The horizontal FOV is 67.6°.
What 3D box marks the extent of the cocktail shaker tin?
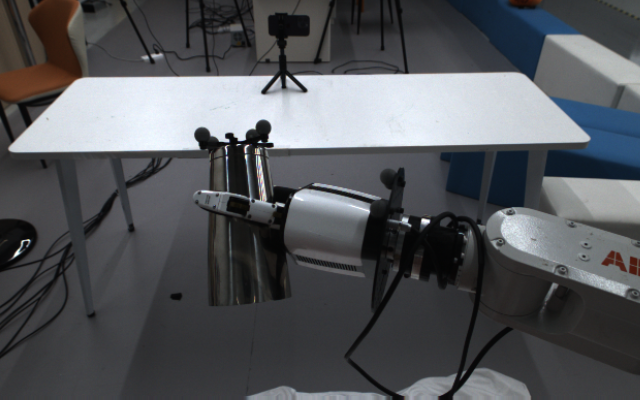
[{"bbox_3d":[-0.084,0.029,0.546,0.093,0.170,0.093,-6,-7,-1],"label":"cocktail shaker tin"}]
